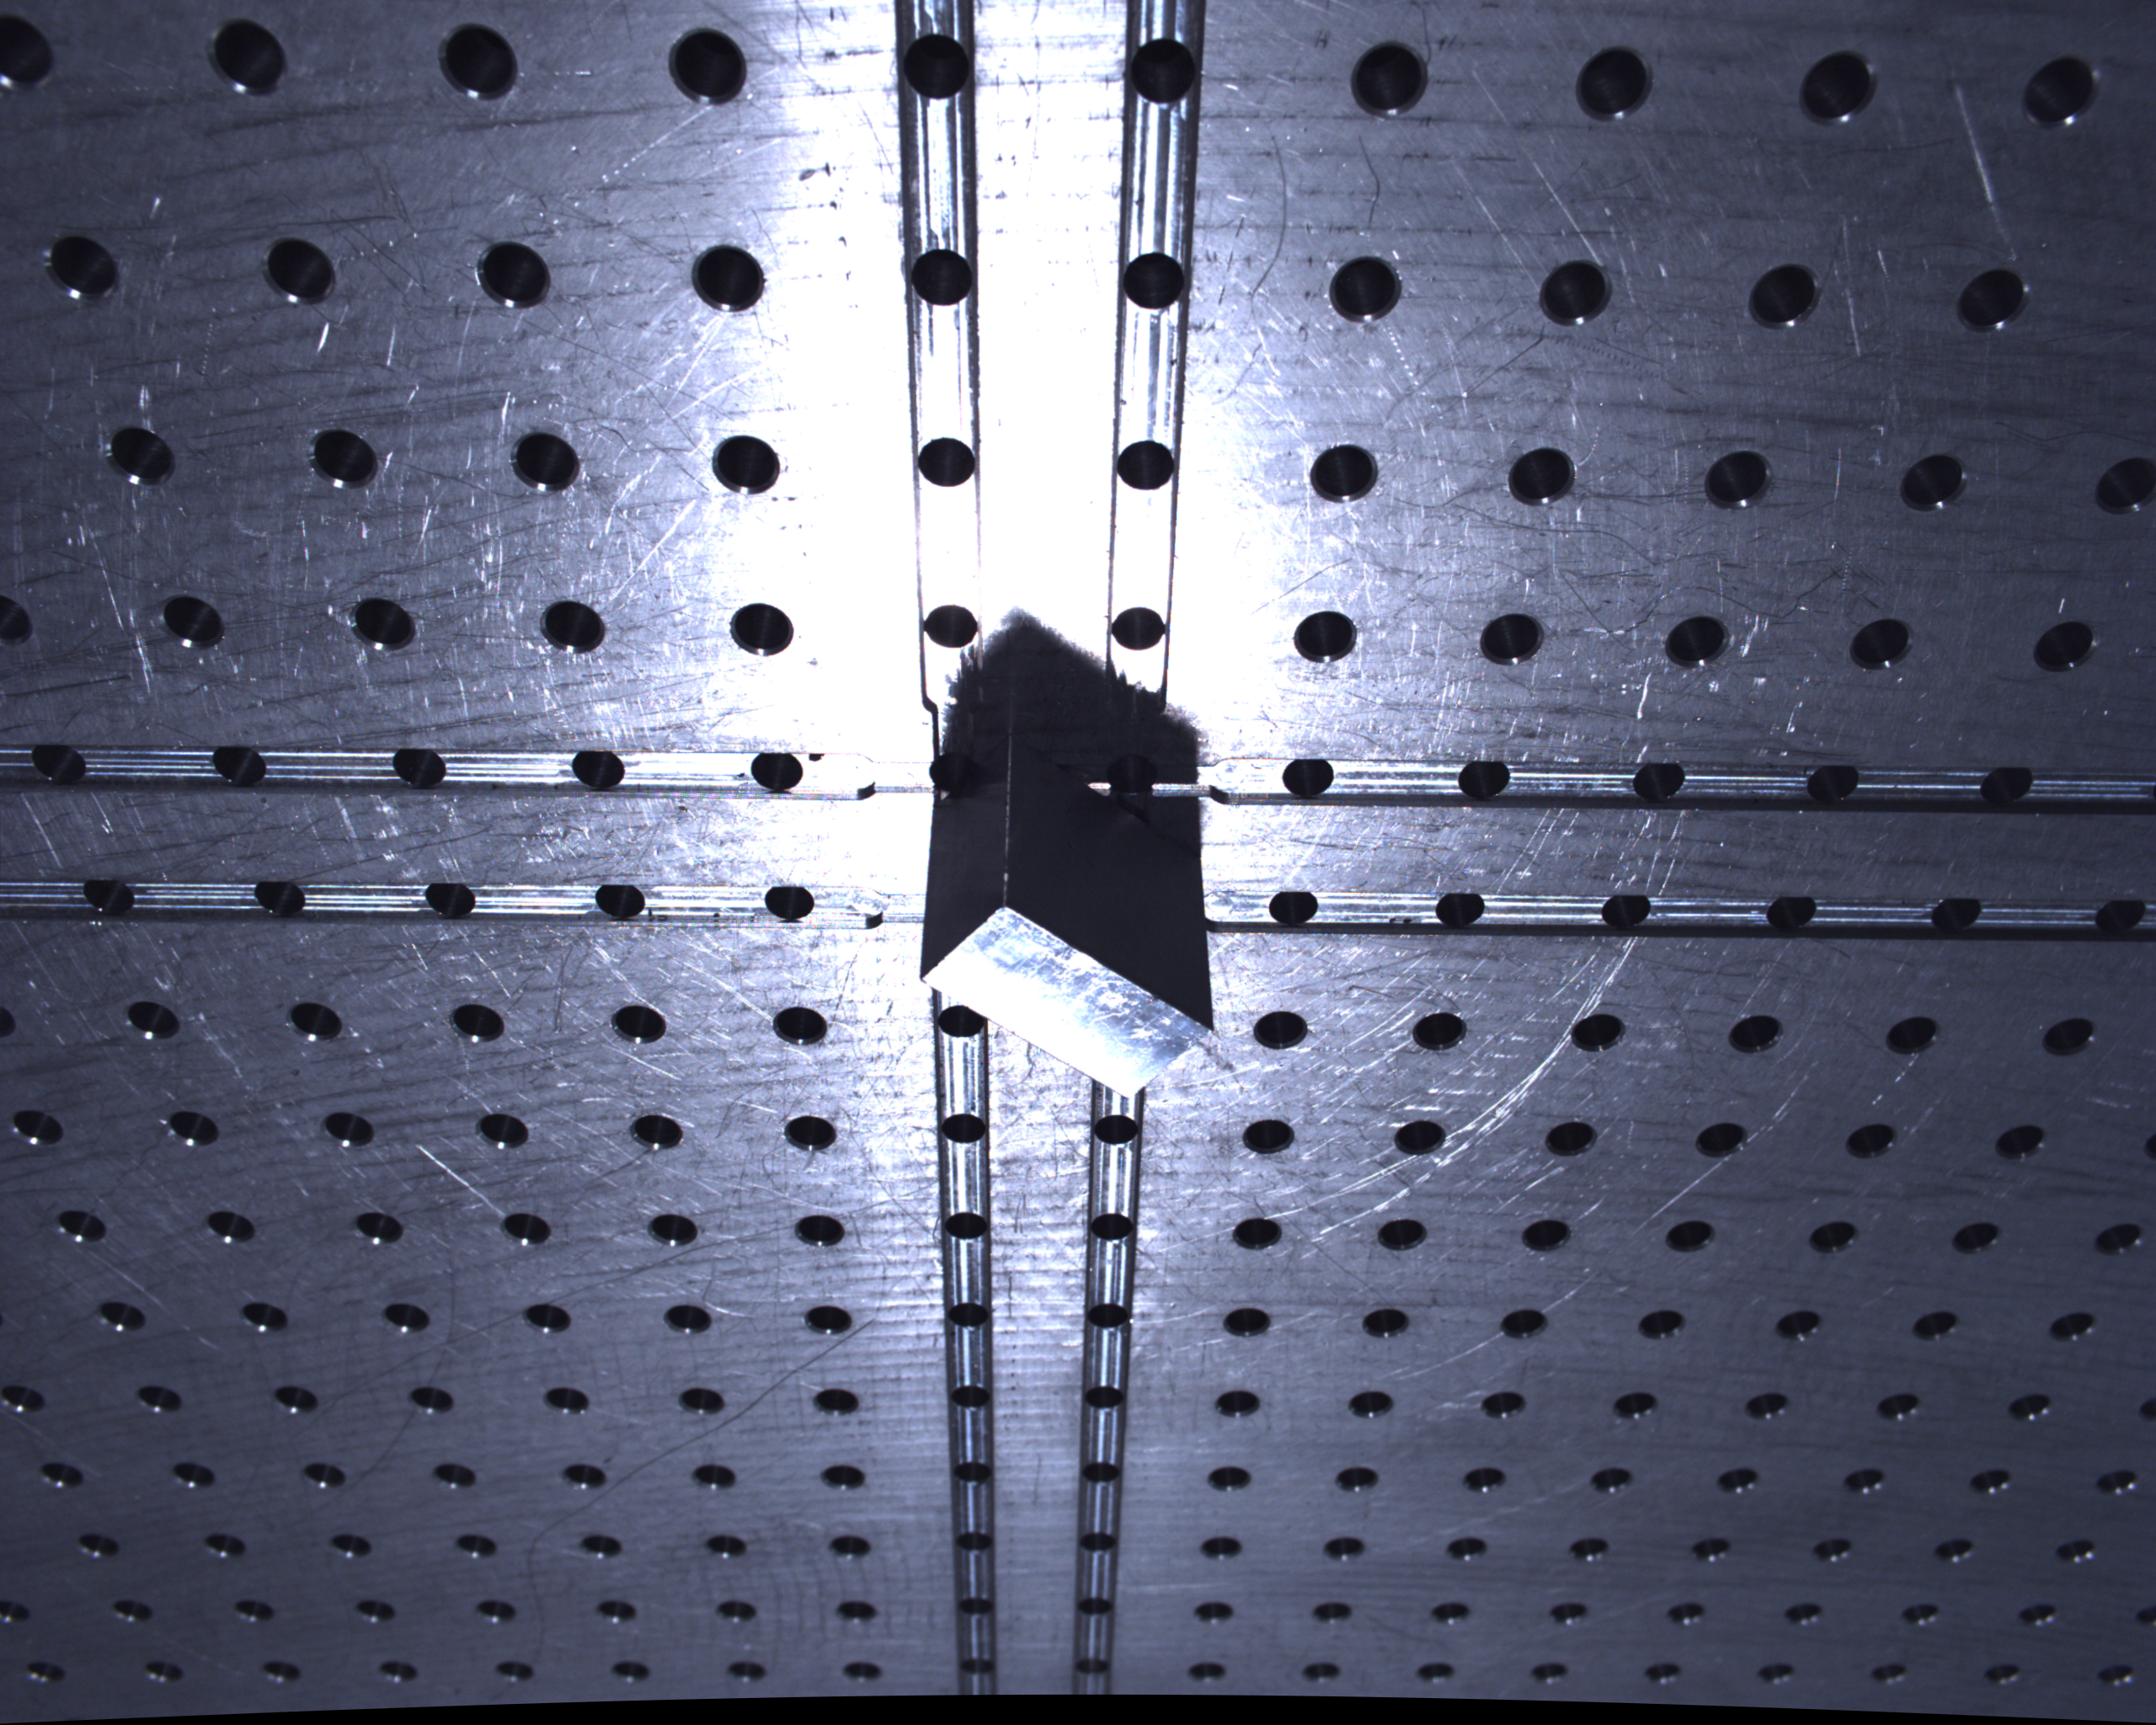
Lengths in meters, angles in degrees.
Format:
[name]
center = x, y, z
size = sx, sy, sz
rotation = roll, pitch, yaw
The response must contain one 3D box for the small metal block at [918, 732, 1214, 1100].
[small metal block]
center = -0.002, 0.010, 0.404
size = 0.050, 0.050, 0.025
rotation = 33, 123, -25
